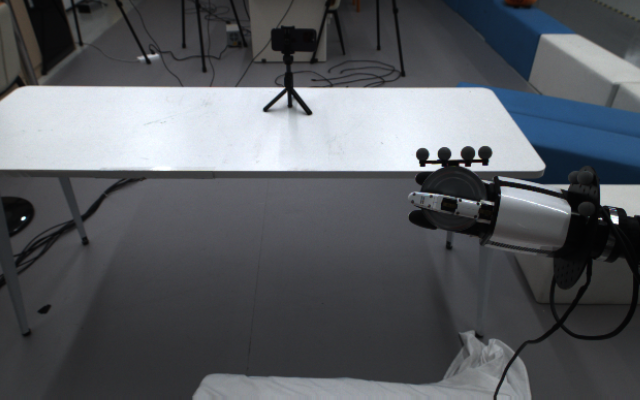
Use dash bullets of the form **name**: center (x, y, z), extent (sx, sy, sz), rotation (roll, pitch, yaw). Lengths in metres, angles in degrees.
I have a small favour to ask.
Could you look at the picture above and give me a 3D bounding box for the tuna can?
- **tuna can**: center (0.178, -0.005, 0.647), extent (0.085, 0.085, 0.034), rotation (15, 10, 18)
